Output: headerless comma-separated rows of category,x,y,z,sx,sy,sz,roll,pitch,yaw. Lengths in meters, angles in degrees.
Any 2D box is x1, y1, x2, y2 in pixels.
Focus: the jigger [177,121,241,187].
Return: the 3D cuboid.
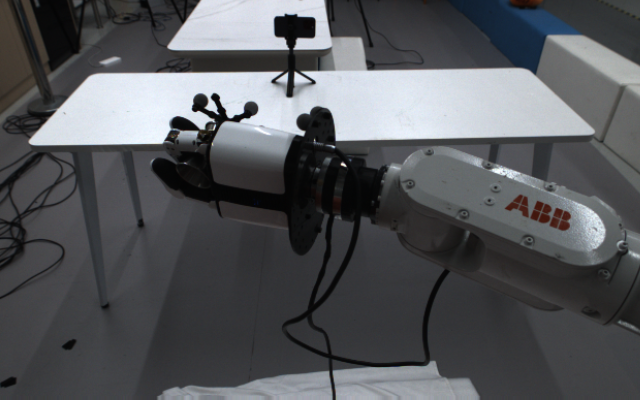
jigger,-0.126,-0.052,0.556,0.043,0.043,0.071,13,58,15
